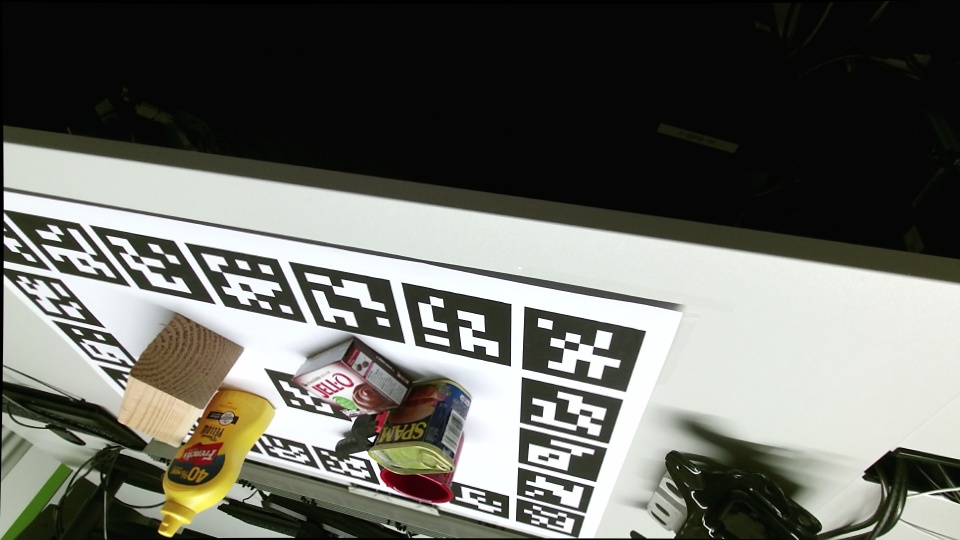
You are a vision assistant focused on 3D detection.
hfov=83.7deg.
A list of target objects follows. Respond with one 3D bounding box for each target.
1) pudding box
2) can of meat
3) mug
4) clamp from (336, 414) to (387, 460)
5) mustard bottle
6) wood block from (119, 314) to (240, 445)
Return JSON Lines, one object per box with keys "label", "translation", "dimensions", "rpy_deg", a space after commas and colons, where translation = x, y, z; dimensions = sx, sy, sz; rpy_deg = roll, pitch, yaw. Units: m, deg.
{"label": "pudding box", "translation": [-0.153, 0.130, 0.619], "dimensions": [0.114, 0.038, 0.090], "rpy_deg": [-24, 121, 39]}
{"label": "can of meat", "translation": [-0.065, 0.180, 0.595], "dimensions": [0.102, 0.083, 0.058], "rpy_deg": [-15, 125, 32]}
{"label": "mug", "translation": [-0.066, 0.236, 0.693], "dimensions": [0.093, 0.081, 0.117], "rpy_deg": [25, 135, -5]}
{"label": "clamp", "translation": [-0.143, 0.248, 0.740], "dimensions": [0.122, 0.036, 0.165], "rpy_deg": [24, 135, -1]}
{"label": "mustard bottle", "translation": [-0.372, 0.270, 0.728], "dimensions": [0.096, 0.191, 0.058], "rpy_deg": [5, 134, 15]}
{"label": "wood block", "translation": [-0.400, 0.153, 0.701], "dimensions": [0.090, 0.090, 0.206], "rpy_deg": [34, 137, -17]}
